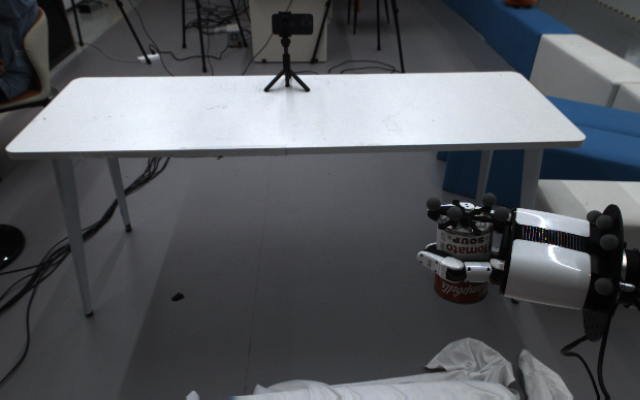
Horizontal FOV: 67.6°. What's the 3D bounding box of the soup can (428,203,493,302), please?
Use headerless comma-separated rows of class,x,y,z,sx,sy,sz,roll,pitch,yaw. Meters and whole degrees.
soup can,0.182,0.069,0.610,0.067,0.101,0.067,-3,25,2
